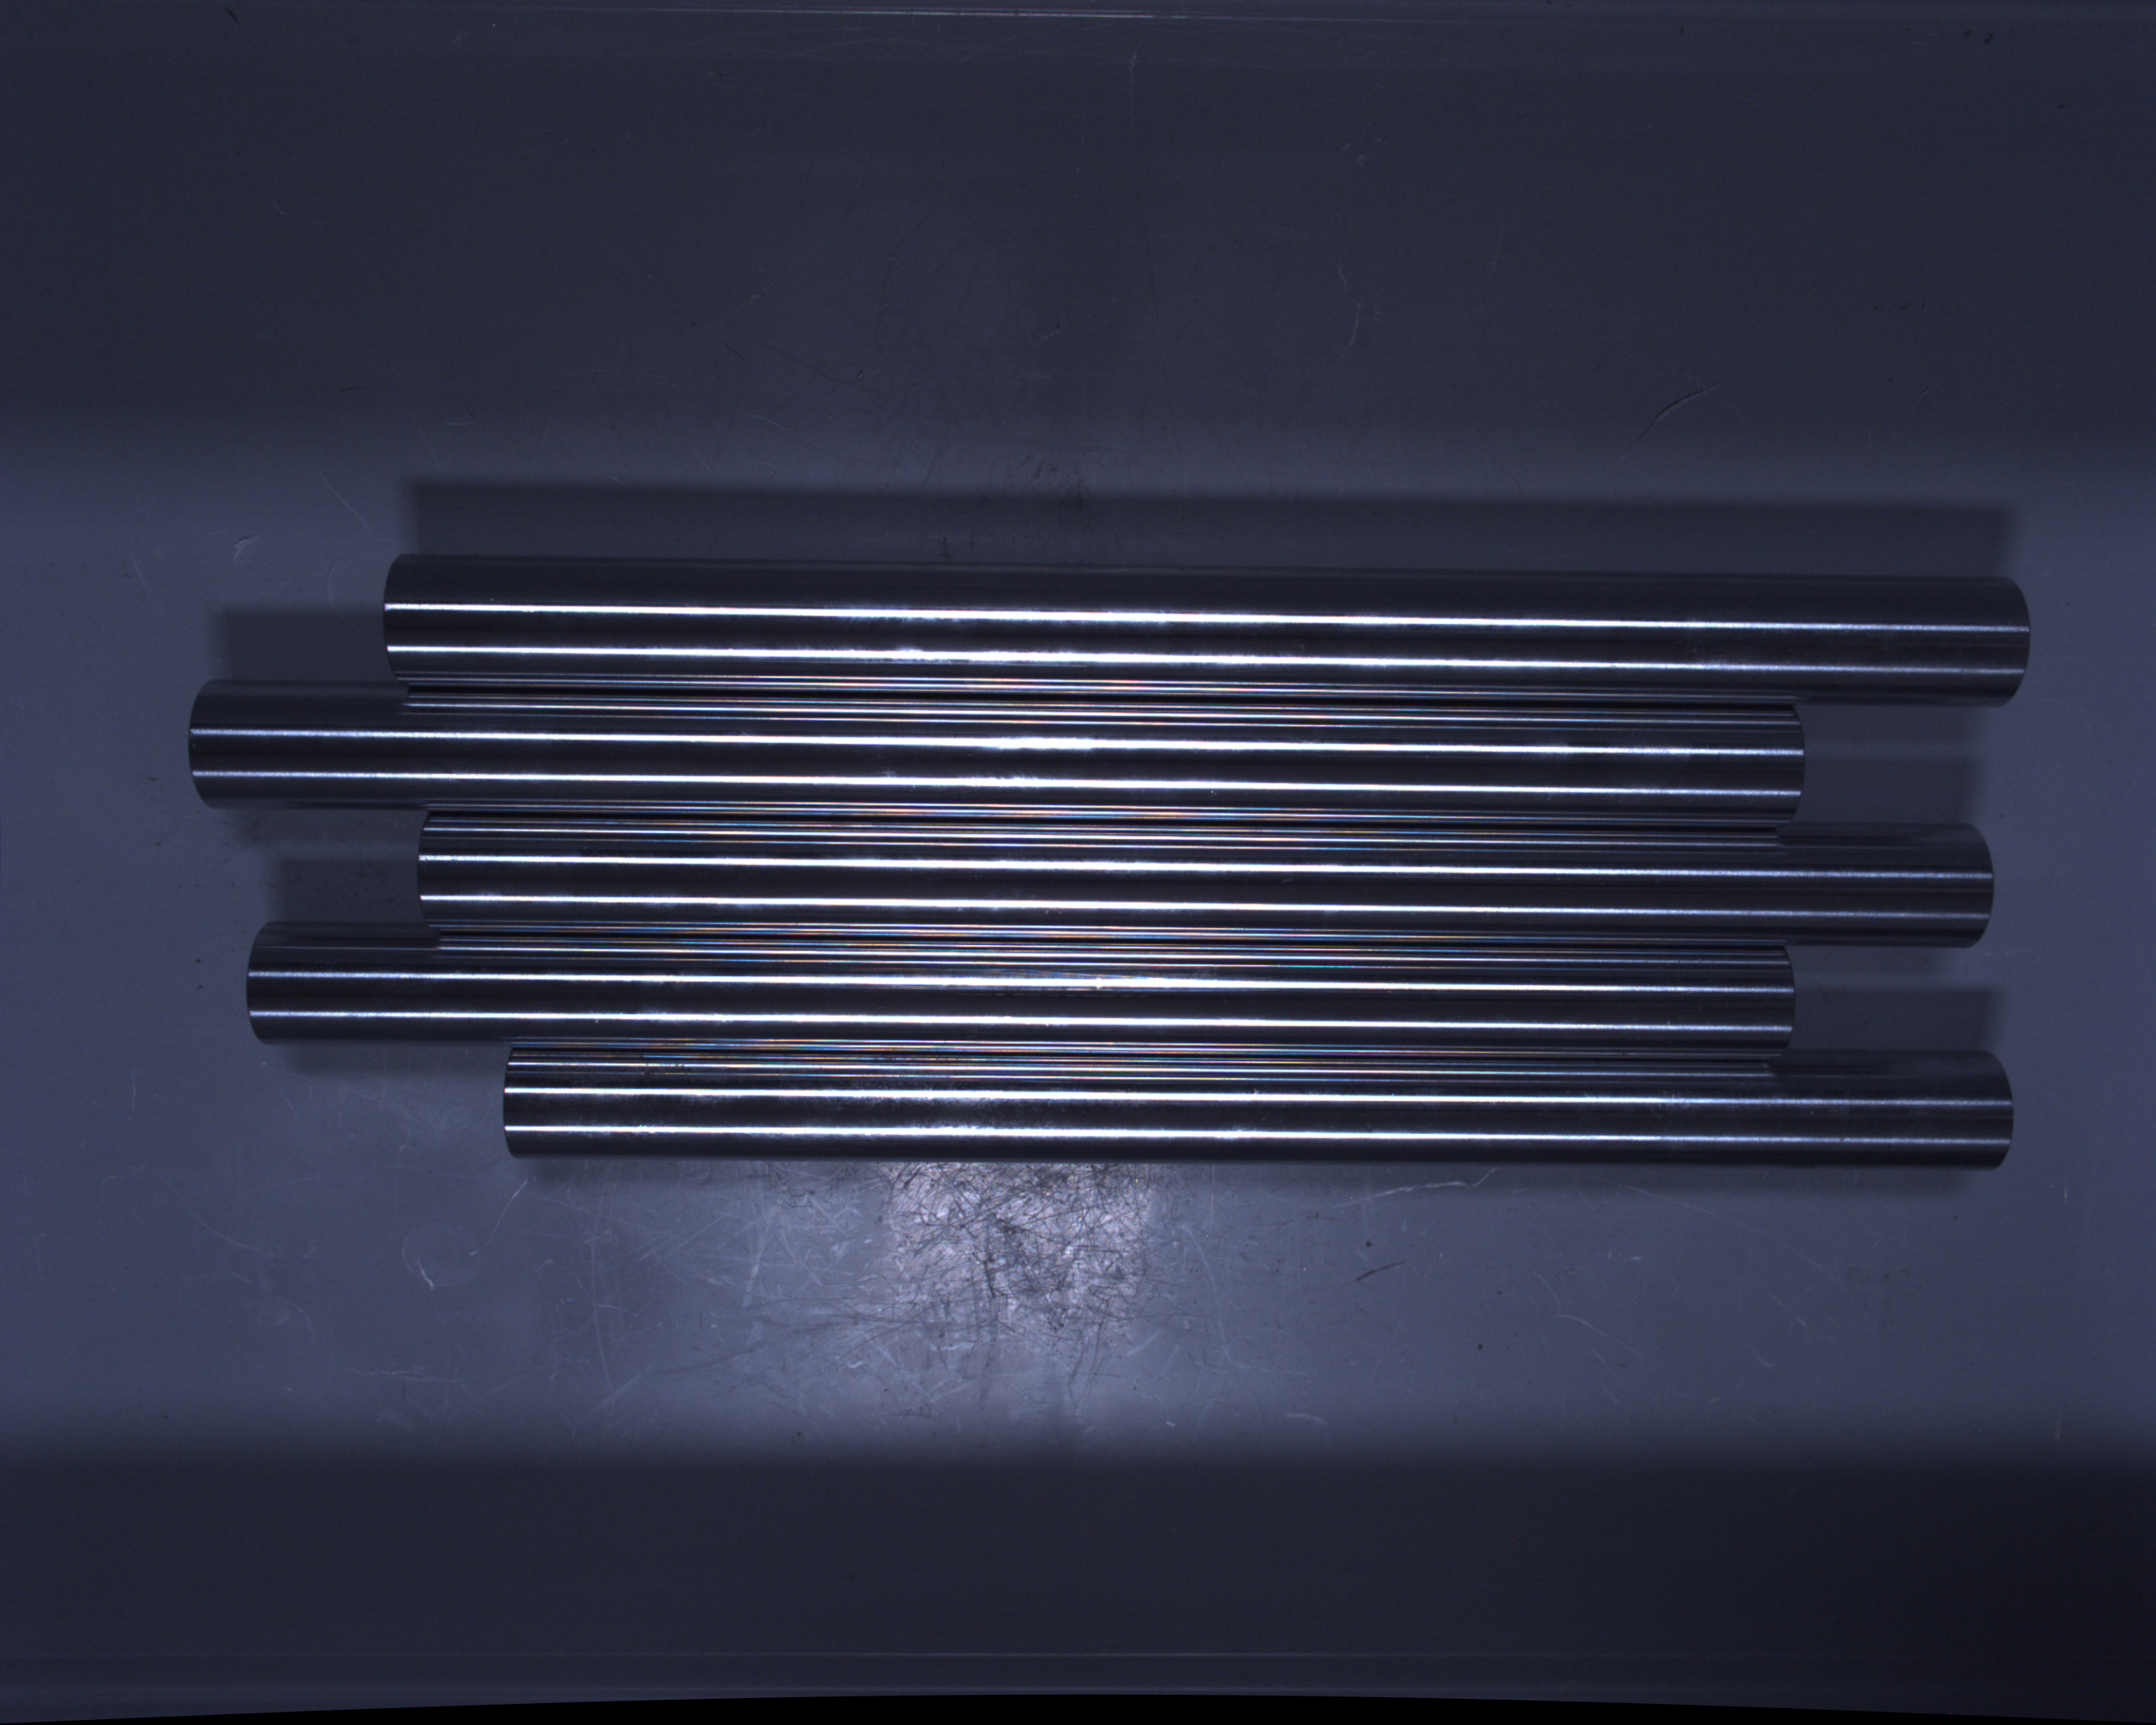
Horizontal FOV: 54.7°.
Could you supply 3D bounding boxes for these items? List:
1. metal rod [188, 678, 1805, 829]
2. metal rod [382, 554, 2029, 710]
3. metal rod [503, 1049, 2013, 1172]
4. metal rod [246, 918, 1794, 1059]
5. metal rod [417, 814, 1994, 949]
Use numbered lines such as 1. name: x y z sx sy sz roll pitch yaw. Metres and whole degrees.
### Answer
1. metal rod: -0.014 -0.021 0.402 0.302 0.025 0.025 1 110 -1
2. metal rod: 0.024 -0.043 0.394 0.302 0.025 0.025 1 110 -1
3. metal rod: 0.037 0.050 0.429 0.302 0.025 0.025 1 110 -1
4. metal rod: -0.010 0.025 0.419 0.302 0.025 0.025 1 110 -1
5. metal rod: 0.025 0.003 0.411 0.302 0.025 0.025 1 110 -1
